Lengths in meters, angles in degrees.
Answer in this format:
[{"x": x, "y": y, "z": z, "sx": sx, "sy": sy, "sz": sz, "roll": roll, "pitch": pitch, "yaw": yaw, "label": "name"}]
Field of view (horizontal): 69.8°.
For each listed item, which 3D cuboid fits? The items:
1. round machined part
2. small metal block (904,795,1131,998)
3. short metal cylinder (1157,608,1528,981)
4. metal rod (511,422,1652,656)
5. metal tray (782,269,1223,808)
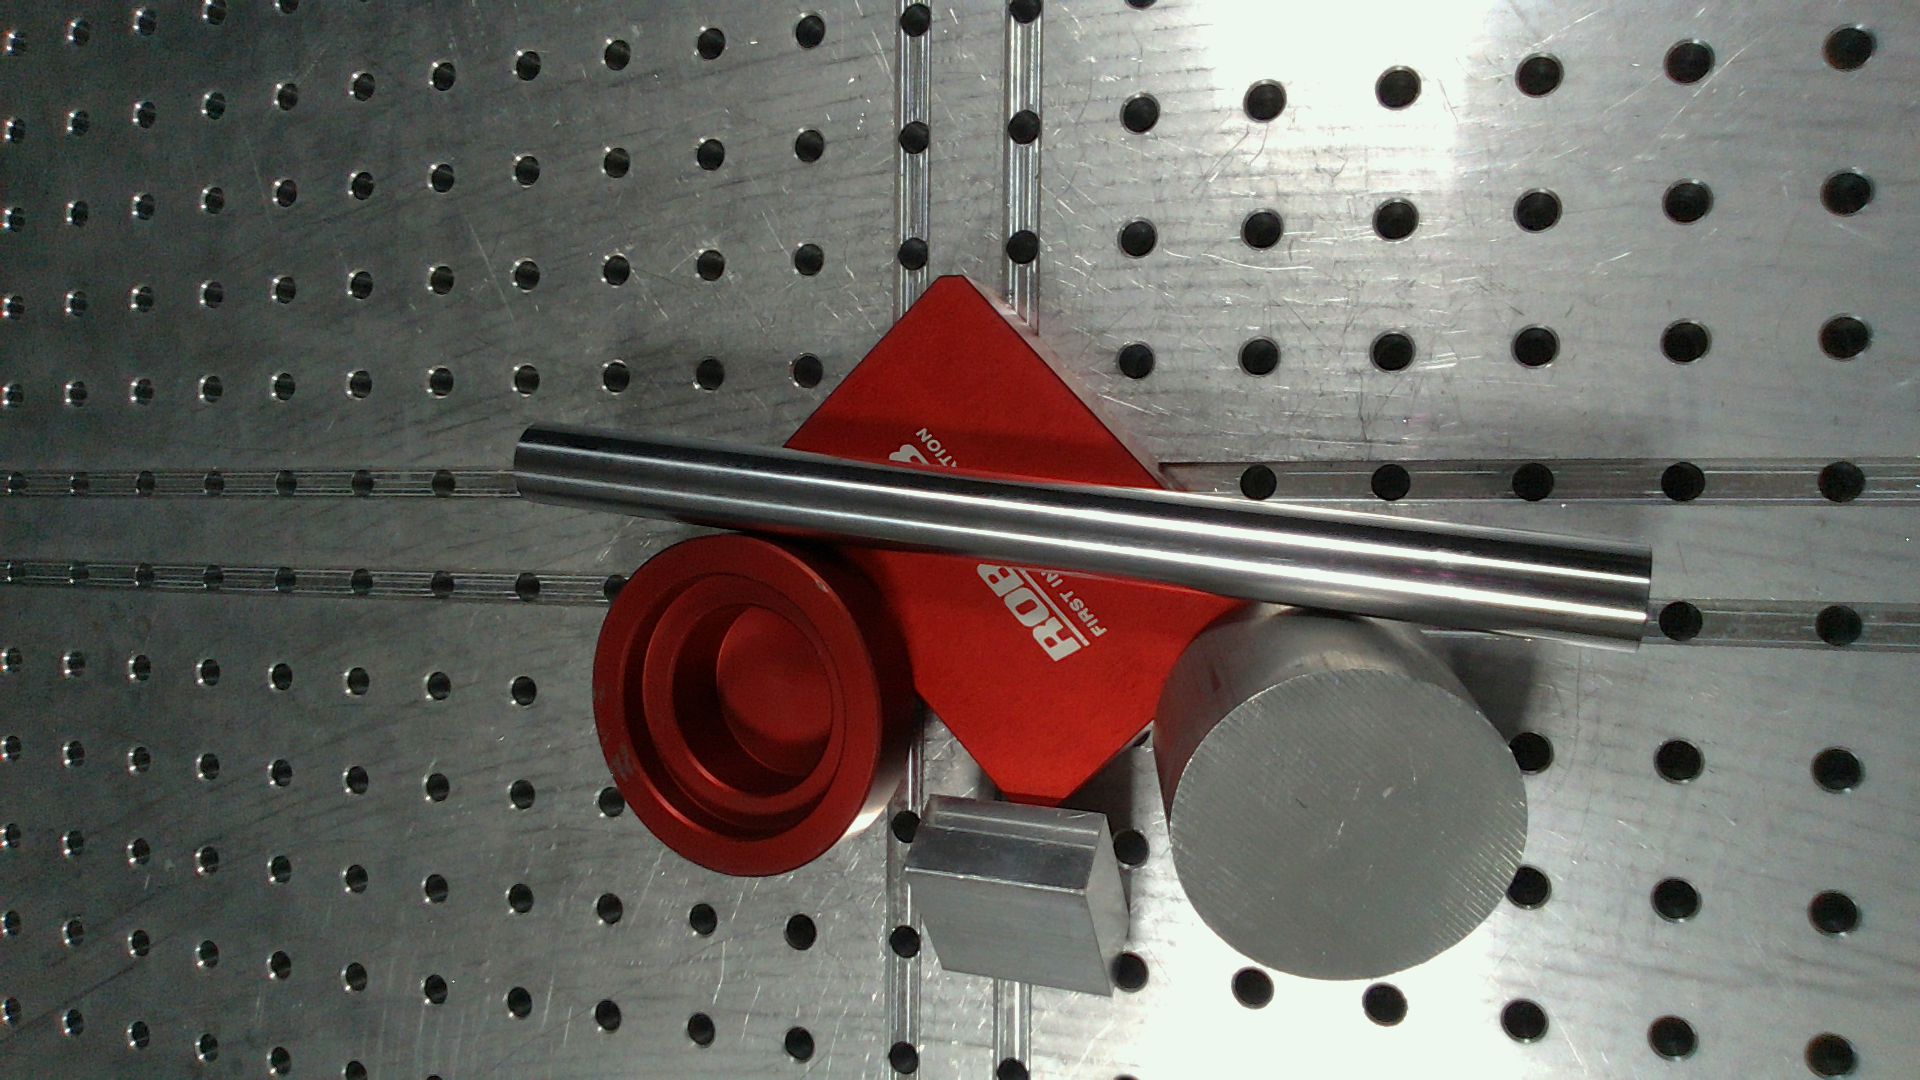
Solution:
[{"x": -0.057, "y": 0.045, "z": 0.405, "sx": 0.098, "sy": 0.042, "sz": 0.098, "roll": 3, "pitch": 98, "yaw": 25, "label": "round machined part"}, {"x": 0.017, "y": 0.098, "z": 0.378, "sx": 0.050, "sy": 0.025, "sz": 0.050, "roll": 3, "pitch": 134, "yaw": 19, "label": "small metal block"}, {"x": 0.089, "y": 0.059, "z": 0.337, "sx": 0.080, "sy": 0.050, "sz": 0.080, "roll": 1, "pitch": 108, "yaw": 2, "label": "short metal cylinder"}, {"x": 0.014, "y": -0.005, "z": 0.360, "sx": 0.299, "sy": 0.025, "sz": 0.025, "roll": 7, "pitch": 93, "yaw": 20, "label": "metal rod"}, {"x": 0.015, "y": -0.001, "z": 0.392, "sx": 0.090, "sy": 0.030, "sz": 0.130, "roll": -45, "pitch": 76, "yaw": 14, "label": "metal tray"}]
